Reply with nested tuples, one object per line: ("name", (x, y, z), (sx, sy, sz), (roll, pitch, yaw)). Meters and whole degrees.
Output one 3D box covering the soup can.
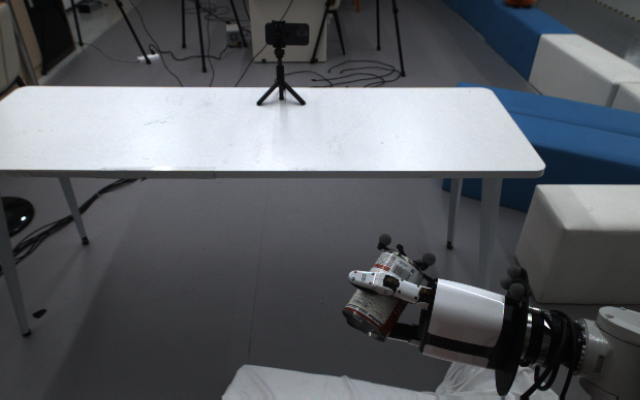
("soup can", (0.086, 0.125, 0.645), (0.067, 0.067, 0.101), (25, 67, 30))
